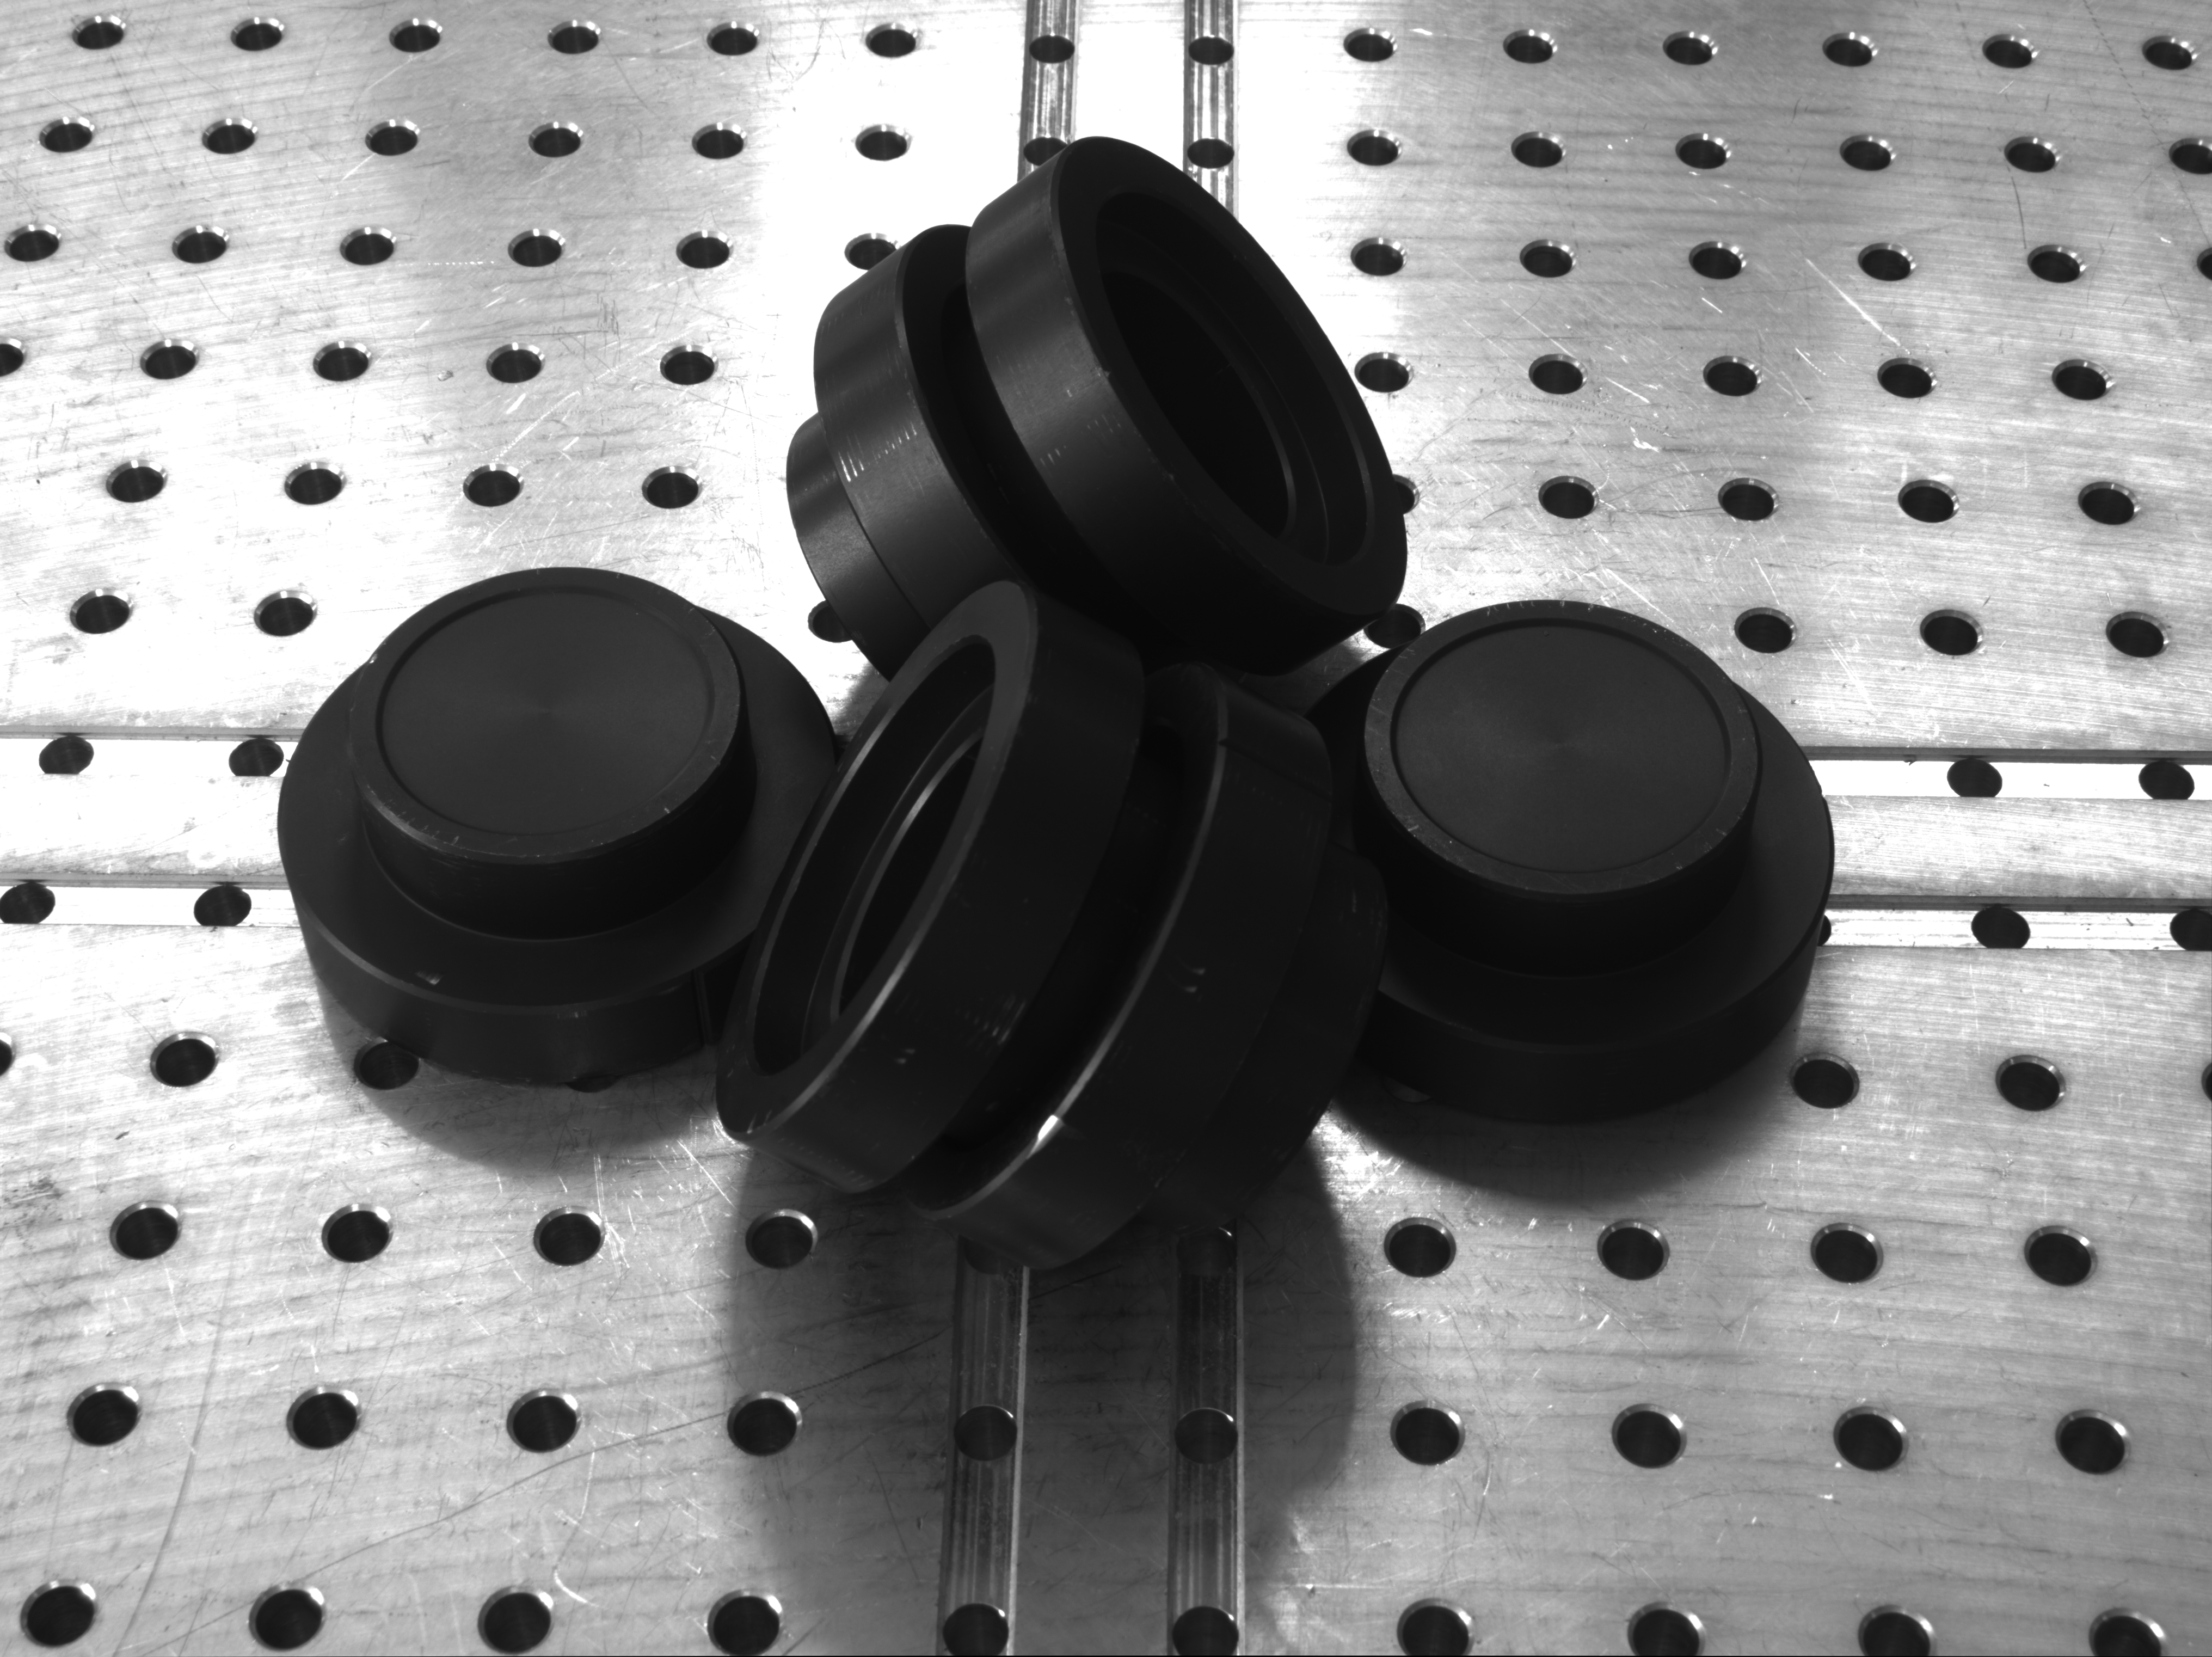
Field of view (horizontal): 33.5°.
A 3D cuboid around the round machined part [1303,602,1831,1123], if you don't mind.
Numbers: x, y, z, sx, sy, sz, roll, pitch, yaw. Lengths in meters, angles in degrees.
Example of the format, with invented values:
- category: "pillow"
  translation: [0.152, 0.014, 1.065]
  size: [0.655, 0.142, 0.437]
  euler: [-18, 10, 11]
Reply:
- category: "round machined part"
  translation: [0.076, -0.001, 0.635]
  size: [0.098, 0.042, 0.098]
  euler: [0, 50, 0]

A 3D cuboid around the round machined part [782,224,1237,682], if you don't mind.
- category: "round machined part"
  translation: [-0.020, -0.056, 0.660]
  size: [0.042, 0.098, 0.098]
  euler: [-32, 44, 26]

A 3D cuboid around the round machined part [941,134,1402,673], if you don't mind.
- category: "round machined part"
  translation: [0.006, -0.070, 0.648]
  size: [0.042, 0.098, 0.098]
  euler: [-32, 44, 26]

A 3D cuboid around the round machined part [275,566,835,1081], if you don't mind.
- category: "round machined part"
  translation: [-0.096, -0.007, 0.640]
  size: [0.098, 0.042, 0.098]
  euler: [0, 50, 0]

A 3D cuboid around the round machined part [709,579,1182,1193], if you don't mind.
- category: "round machined part"
  translation: [-0.021, 0.013, 0.581]
  size: [0.042, 0.098, 0.098]
  euler: [28, 48, -18]

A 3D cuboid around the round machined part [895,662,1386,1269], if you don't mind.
- category: "round machined part"
  translation: [0.009, 0.026, 0.588]
  size: [0.042, 0.098, 0.098]
  euler: [28, 48, -17]
